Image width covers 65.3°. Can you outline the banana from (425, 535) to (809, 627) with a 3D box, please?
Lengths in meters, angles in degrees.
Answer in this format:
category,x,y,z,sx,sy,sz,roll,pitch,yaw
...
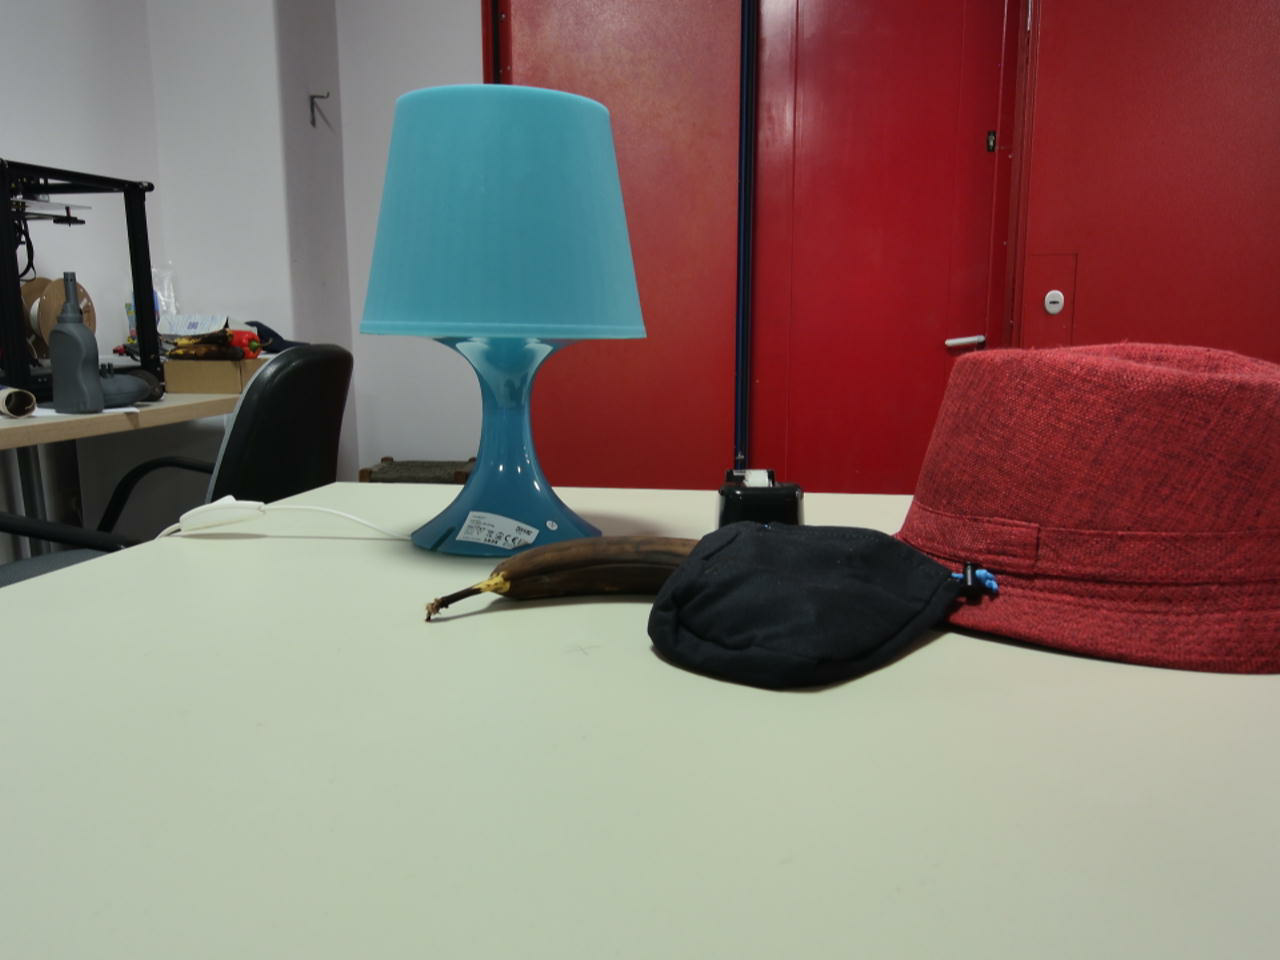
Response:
category,x,y,z,sx,sy,sz,roll,pitch,yaw
banana,-0.005,0.050,0.521,0.188,0.033,0.091,1,7,13
